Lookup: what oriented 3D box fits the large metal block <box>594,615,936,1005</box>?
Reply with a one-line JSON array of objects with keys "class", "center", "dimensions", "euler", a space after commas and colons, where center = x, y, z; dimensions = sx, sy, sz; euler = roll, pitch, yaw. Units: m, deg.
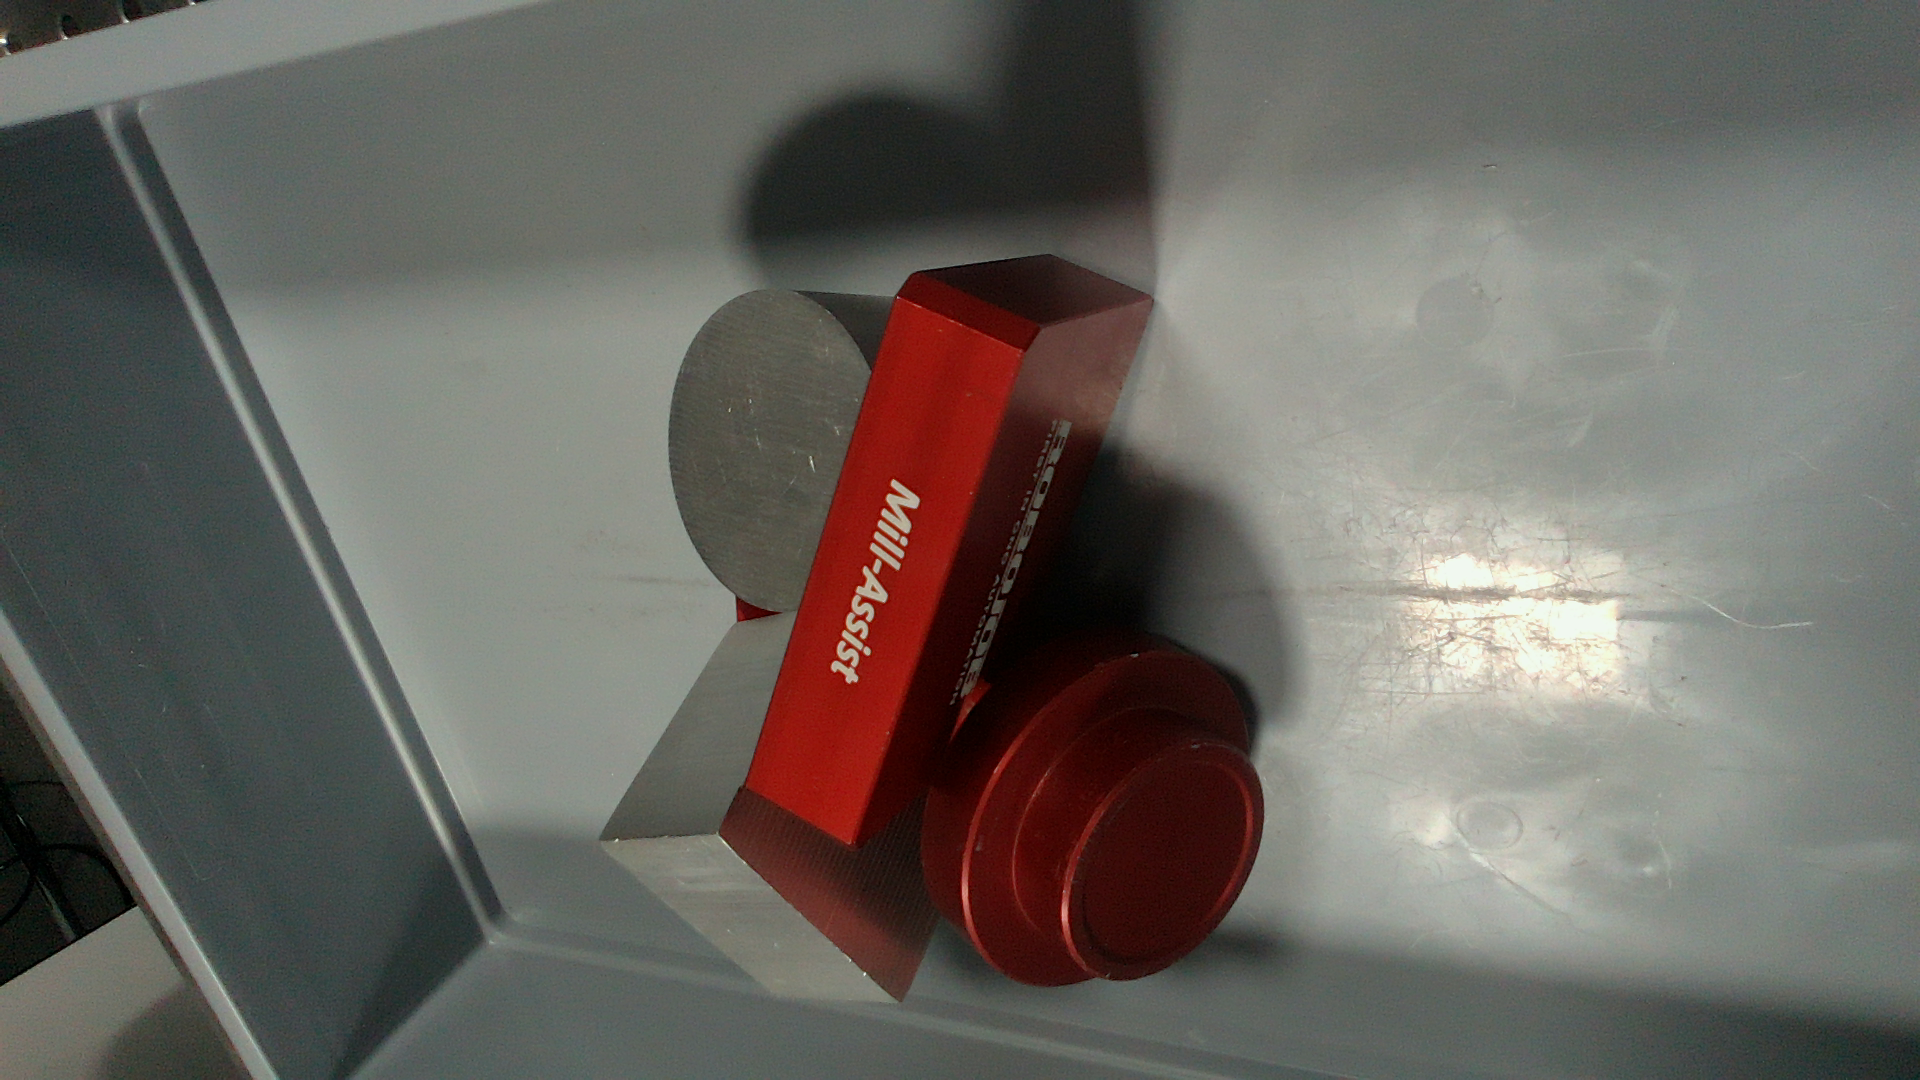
[{"class": "large metal block", "center": [-0.042, 0.075, 0.395], "dimensions": [0.050, 0.080, 0.080], "euler": [-13, 128, 40]}]

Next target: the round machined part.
[{"class": "round machined part", "center": [0.042, 0.076, 0.364], "dimensions": [0.042, 0.098, 0.098], "euler": [29, 136, 50]}]

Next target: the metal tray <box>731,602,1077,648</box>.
[{"class": "metal tray", "center": [-0.006, 0.061, 0.428], "dimensions": [0.130, 0.030, 0.090], "euler": [16, 125, 19]}]

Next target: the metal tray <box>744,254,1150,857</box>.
[{"class": "metal tray", "center": [-0.001, 0.000, 0.330], "dimensions": [0.030, 0.090, 0.130], "euler": [25, 112, 16]}]

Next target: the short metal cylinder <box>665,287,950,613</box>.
[{"class": "short metal cylinder", "center": [-0.031, -0.024, 0.358], "dimensions": [0.080, 0.050, 0.080], "euler": [6, 99, 39]}]
